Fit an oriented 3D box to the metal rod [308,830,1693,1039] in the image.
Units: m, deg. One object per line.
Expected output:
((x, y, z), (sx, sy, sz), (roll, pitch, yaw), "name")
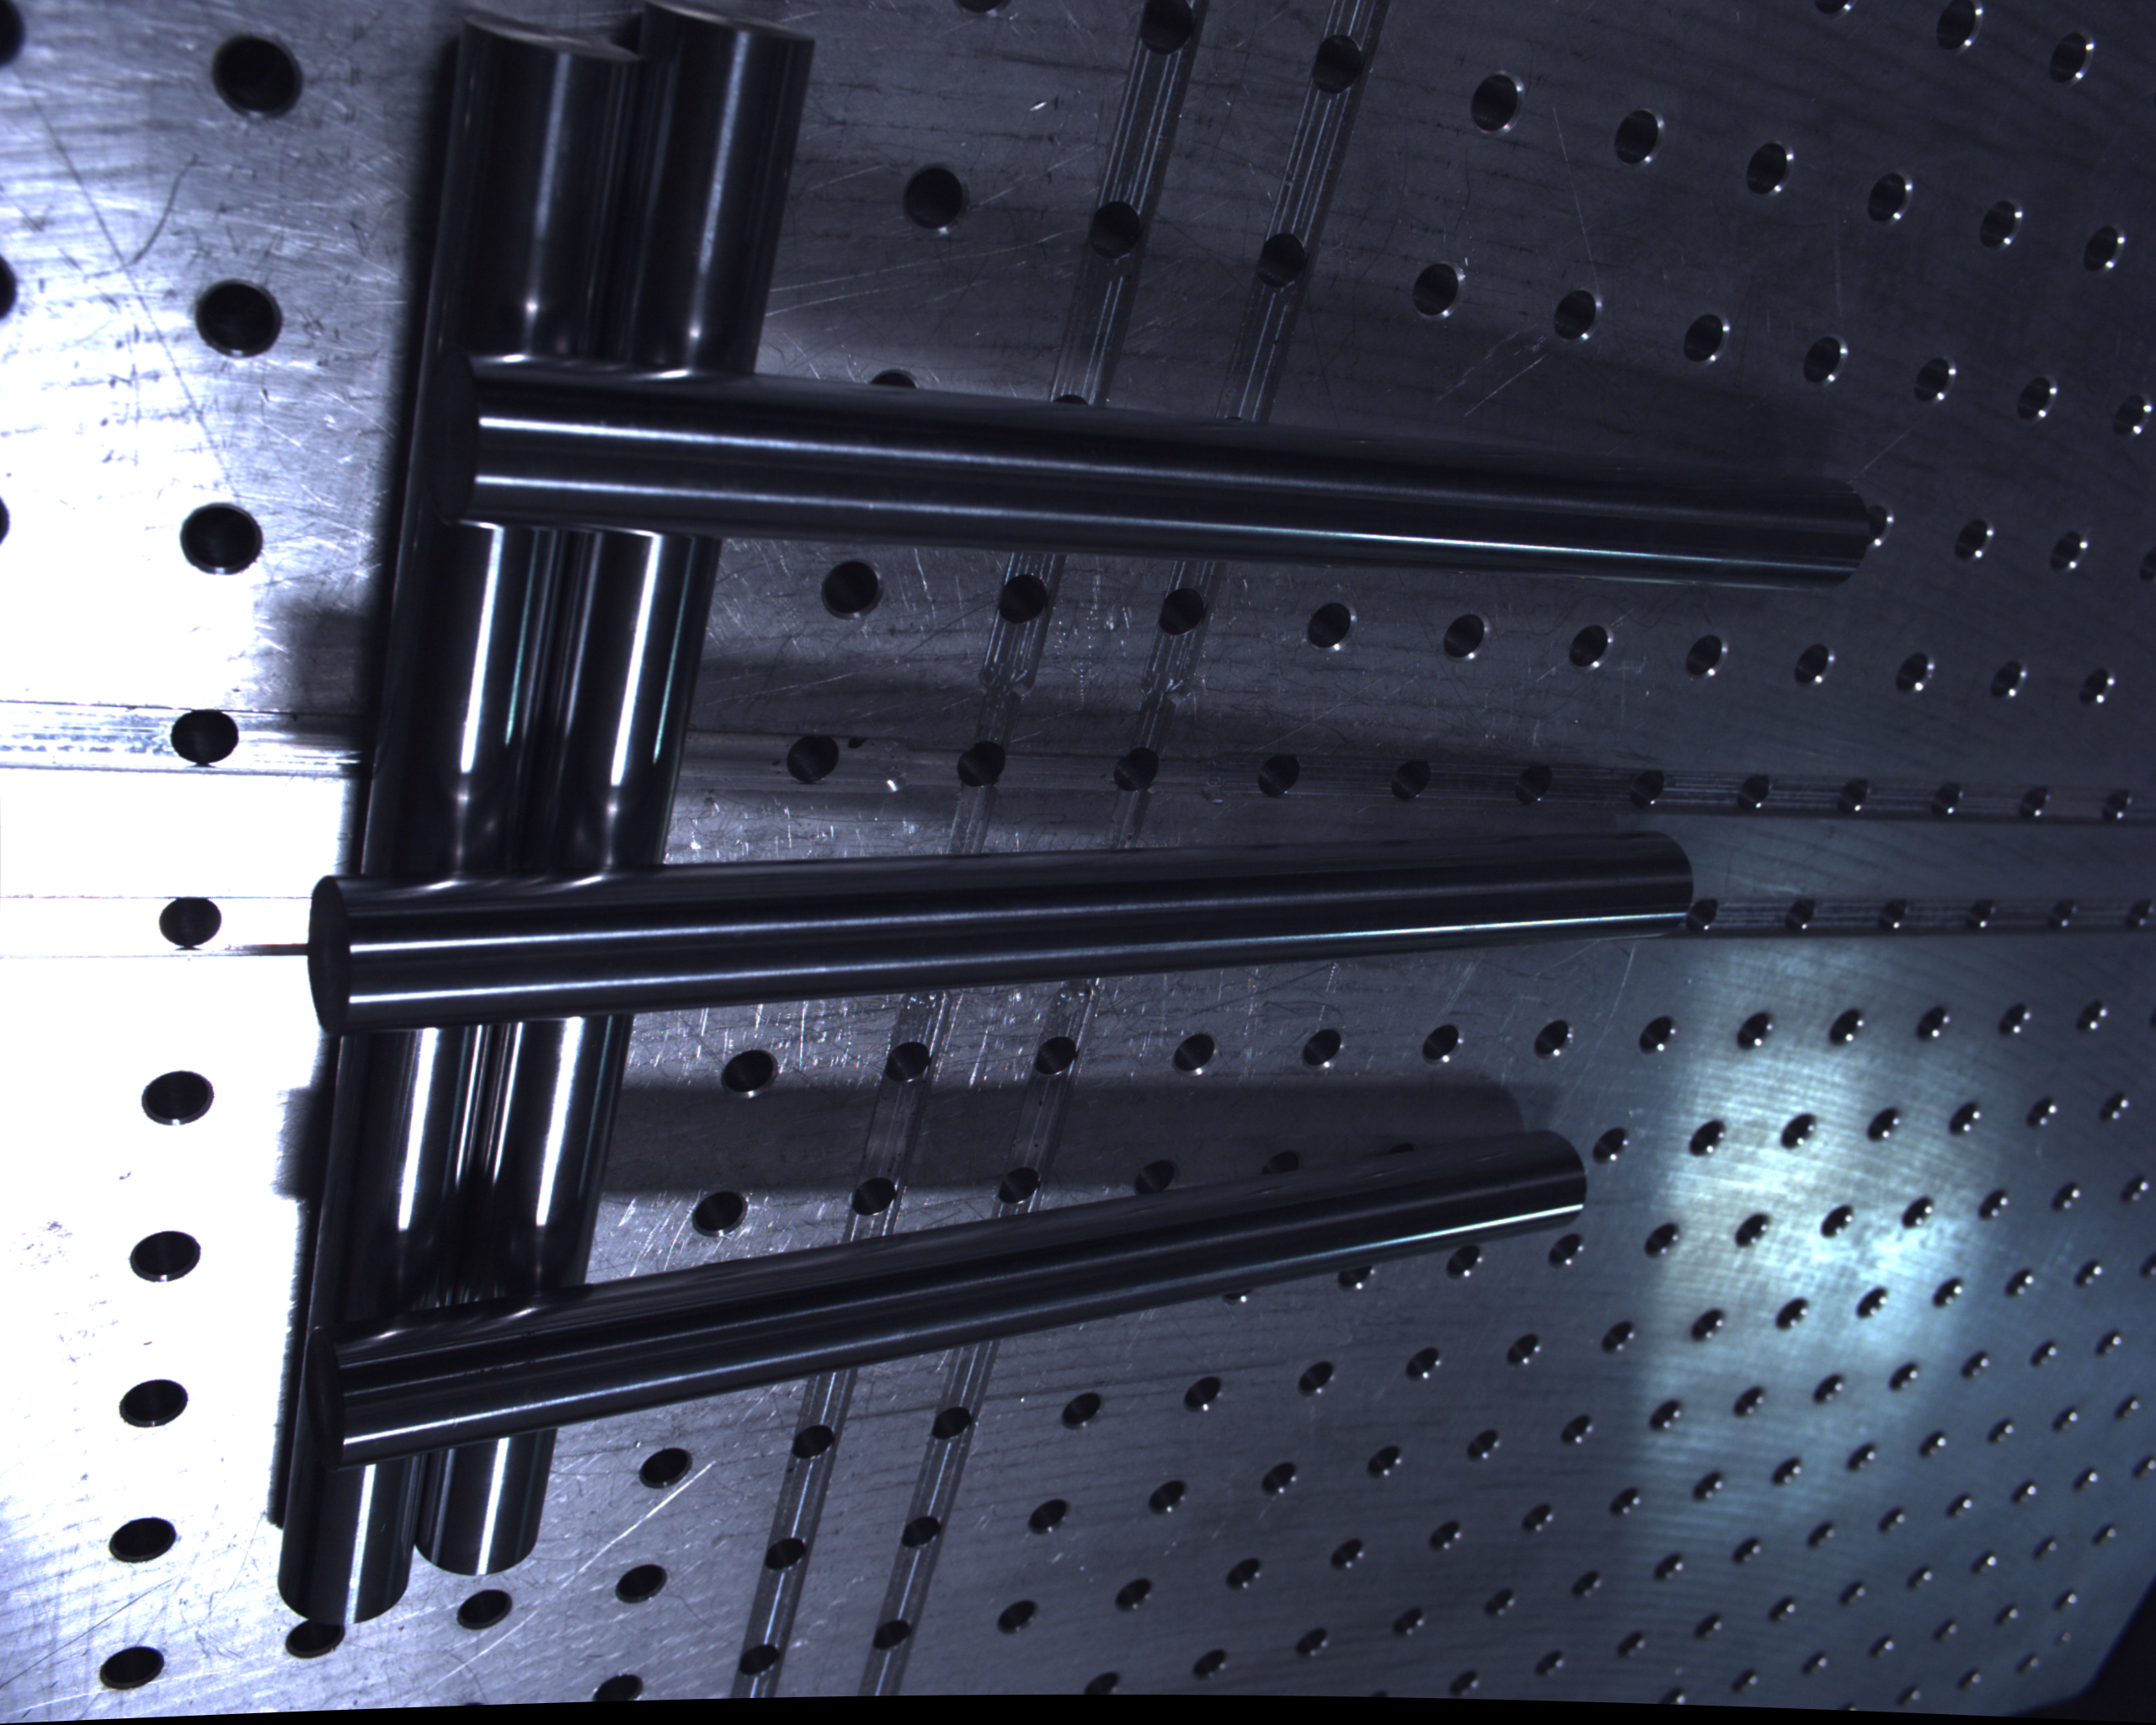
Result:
((0.010, 0.009, 0.404), (0.303, 0.025, 0.025), (-2, 120, -35), "metal rod")

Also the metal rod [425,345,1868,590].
((0.038, -0.066, 0.374), (0.303, 0.025, 0.025), (-3, 120, -34), "metal rod")

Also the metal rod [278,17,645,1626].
((-0.111, 0.013, 0.359), (0.025, 0.025, 0.298), (1, 118, -29), "metal rod")

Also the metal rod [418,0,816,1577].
((-0.087, 0.007, 0.368), (0.025, 0.025, 0.298), (1, 118, -29), "metal rod")

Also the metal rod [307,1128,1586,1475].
((-0.005, 0.086, 0.445), (0.303, 0.025, 0.025), (-3, 120, -34), "metal rod")
